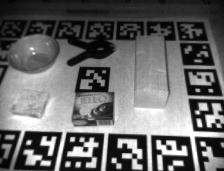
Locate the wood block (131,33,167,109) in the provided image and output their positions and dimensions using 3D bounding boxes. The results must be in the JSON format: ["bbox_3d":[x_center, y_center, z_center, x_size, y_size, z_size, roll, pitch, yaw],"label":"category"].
[{"bbox_3d":[0.108,-0.046,0.634,0.090,0.091,0.205,4,58,4],"label":"wood block"}]

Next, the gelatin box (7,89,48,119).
[{"bbox_3d":[-0.241,0.051,0.619,0.089,0.030,0.073,8,60,7],"label":"gelatin box"}]

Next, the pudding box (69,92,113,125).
[{"bbox_3d":[-0.056,0.064,0.602,0.113,0.039,0.089,0,62,4],"label":"pudding box"}]

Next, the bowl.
[{"bbox_3d":[-0.256,-0.096,0.706,0.161,0.055,0.161,0,61,1],"label":"bowl"}]

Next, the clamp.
[{"bbox_3d":[-0.092,-0.123,0.731,0.165,0.037,0.121,-7,58,-5],"label":"clamp"}]
